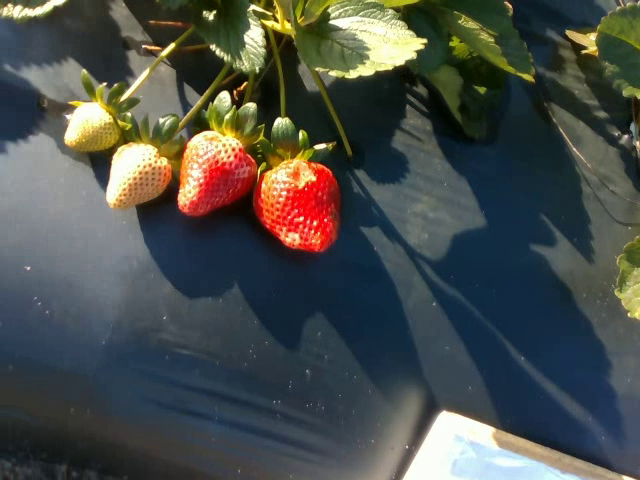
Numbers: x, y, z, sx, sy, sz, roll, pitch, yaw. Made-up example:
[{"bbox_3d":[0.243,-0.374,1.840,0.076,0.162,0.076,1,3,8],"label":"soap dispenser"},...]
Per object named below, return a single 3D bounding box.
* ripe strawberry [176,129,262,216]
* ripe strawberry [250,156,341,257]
[{"bbox_3d":[-0.059,-0.034,0.356,0.050,0.061,0.043,45,-35,-20],"label":"ripe strawberry"},{"bbox_3d":[-0.008,-0.015,0.362,0.056,0.067,0.052,-27,-34,4],"label":"ripe strawberry"}]
